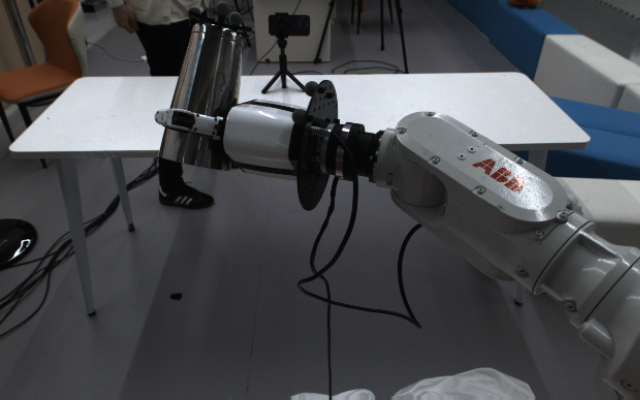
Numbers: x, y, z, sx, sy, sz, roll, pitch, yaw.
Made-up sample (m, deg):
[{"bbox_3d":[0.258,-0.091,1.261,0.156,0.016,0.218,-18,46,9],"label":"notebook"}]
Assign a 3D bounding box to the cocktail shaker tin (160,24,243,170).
[{"bbox_3d":[-0.146,-0.129,0.620,0.093,0.170,0.093,12,5,-1],"label":"cocktail shaker tin"}]
